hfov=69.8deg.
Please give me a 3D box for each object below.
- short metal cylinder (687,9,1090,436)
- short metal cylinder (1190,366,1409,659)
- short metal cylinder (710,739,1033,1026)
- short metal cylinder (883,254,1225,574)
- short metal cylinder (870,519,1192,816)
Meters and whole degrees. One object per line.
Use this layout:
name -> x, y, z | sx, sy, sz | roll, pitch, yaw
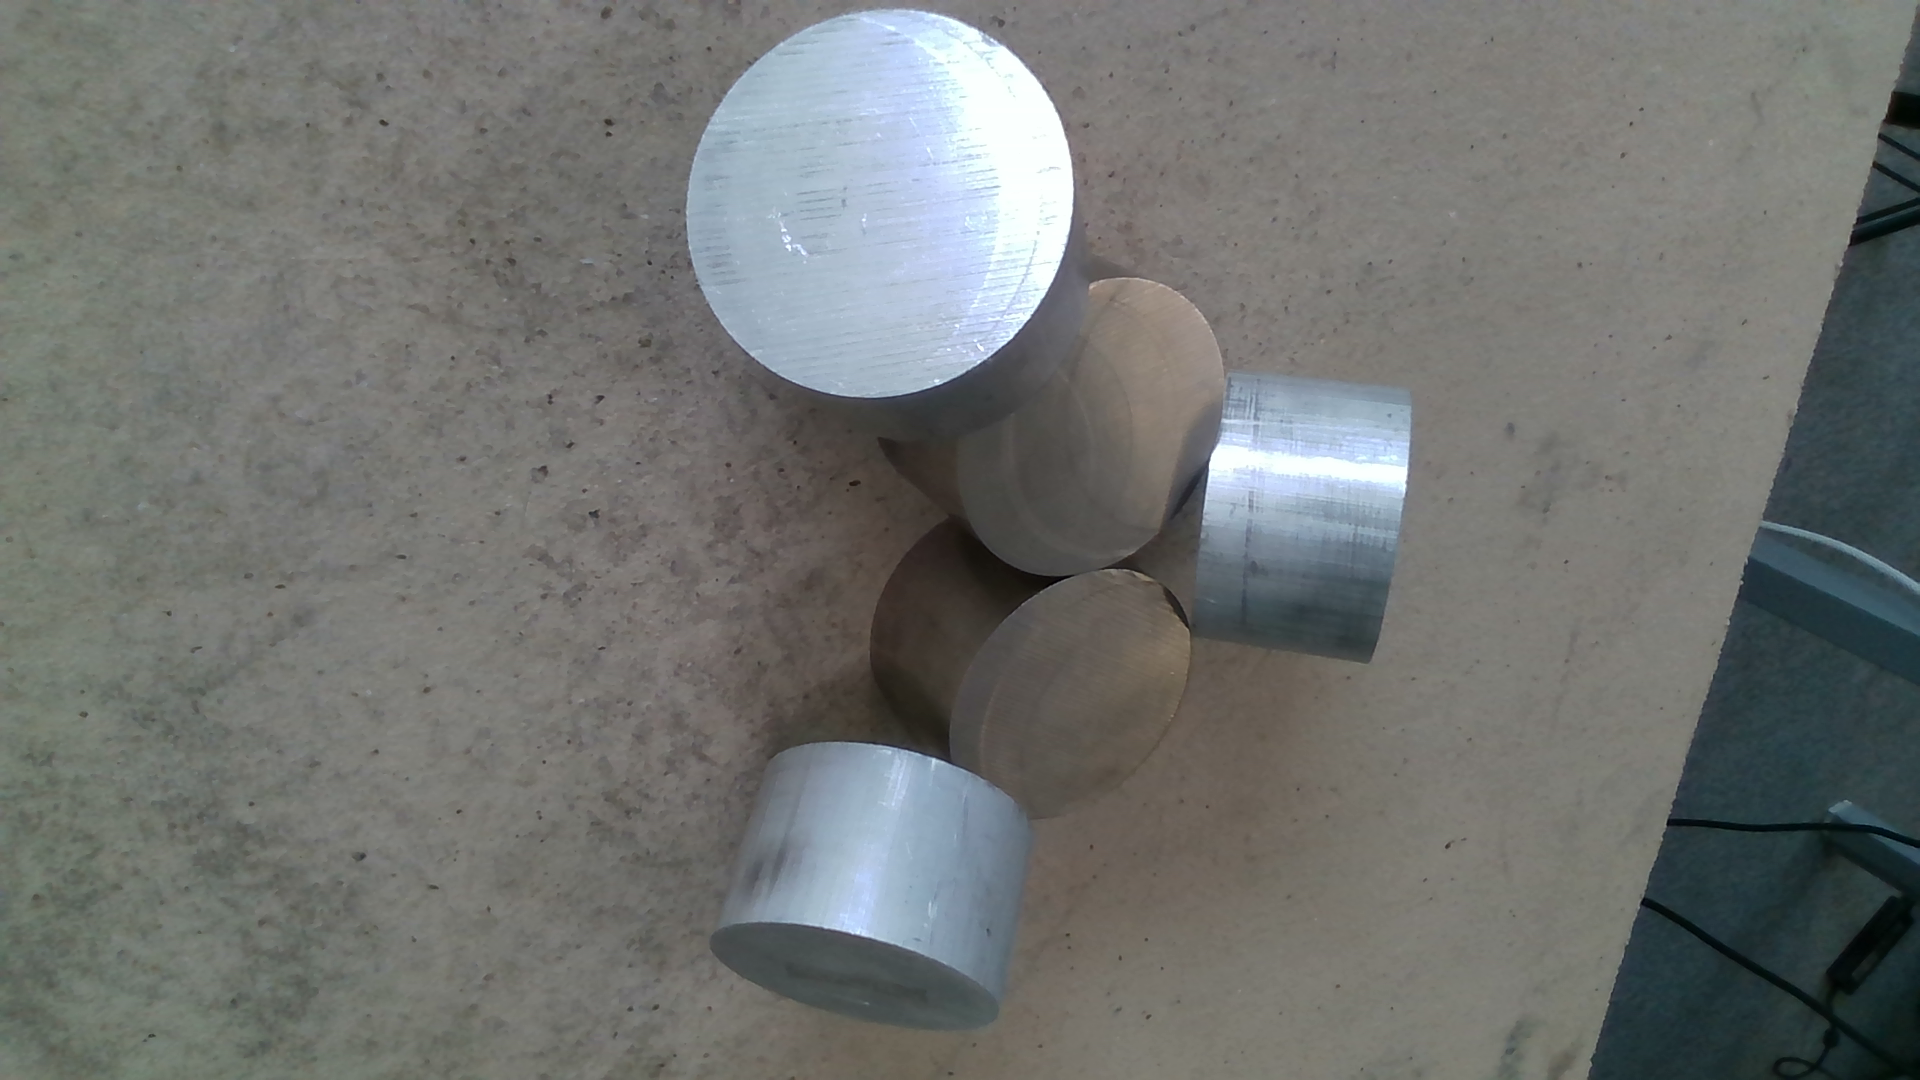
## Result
short metal cylinder -> -0.013, -0.066, 0.303 | 0.080, 0.080, 0.050 | -50, 169, 1
short metal cylinder -> 0.098, -0.008, 0.403 | 0.050, 0.080, 0.080 | 8, 118, 12
short metal cylinder -> -0.023, 0.097, 0.385 | 0.080, 0.080, 0.050 | 47, 45, -39
short metal cylinder -> 0.023, -0.038, 0.367 | 0.080, 0.050, 0.080 | -15, 122, -25
short metal cylinder -> 0.020, 0.033, 0.404 | 0.080, 0.050, 0.080 | -15, 122, -25
